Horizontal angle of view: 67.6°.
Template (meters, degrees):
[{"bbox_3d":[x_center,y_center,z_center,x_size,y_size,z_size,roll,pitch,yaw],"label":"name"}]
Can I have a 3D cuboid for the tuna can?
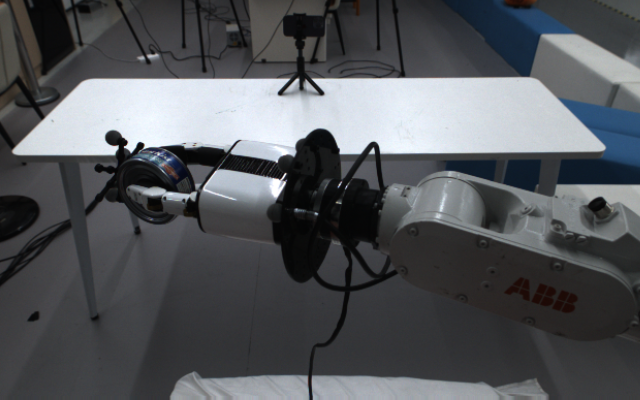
[{"bbox_3d":[-0.186,-0.013,0.553,0.085,0.085,0.034,12,30,15],"label":"tuna can"}]
